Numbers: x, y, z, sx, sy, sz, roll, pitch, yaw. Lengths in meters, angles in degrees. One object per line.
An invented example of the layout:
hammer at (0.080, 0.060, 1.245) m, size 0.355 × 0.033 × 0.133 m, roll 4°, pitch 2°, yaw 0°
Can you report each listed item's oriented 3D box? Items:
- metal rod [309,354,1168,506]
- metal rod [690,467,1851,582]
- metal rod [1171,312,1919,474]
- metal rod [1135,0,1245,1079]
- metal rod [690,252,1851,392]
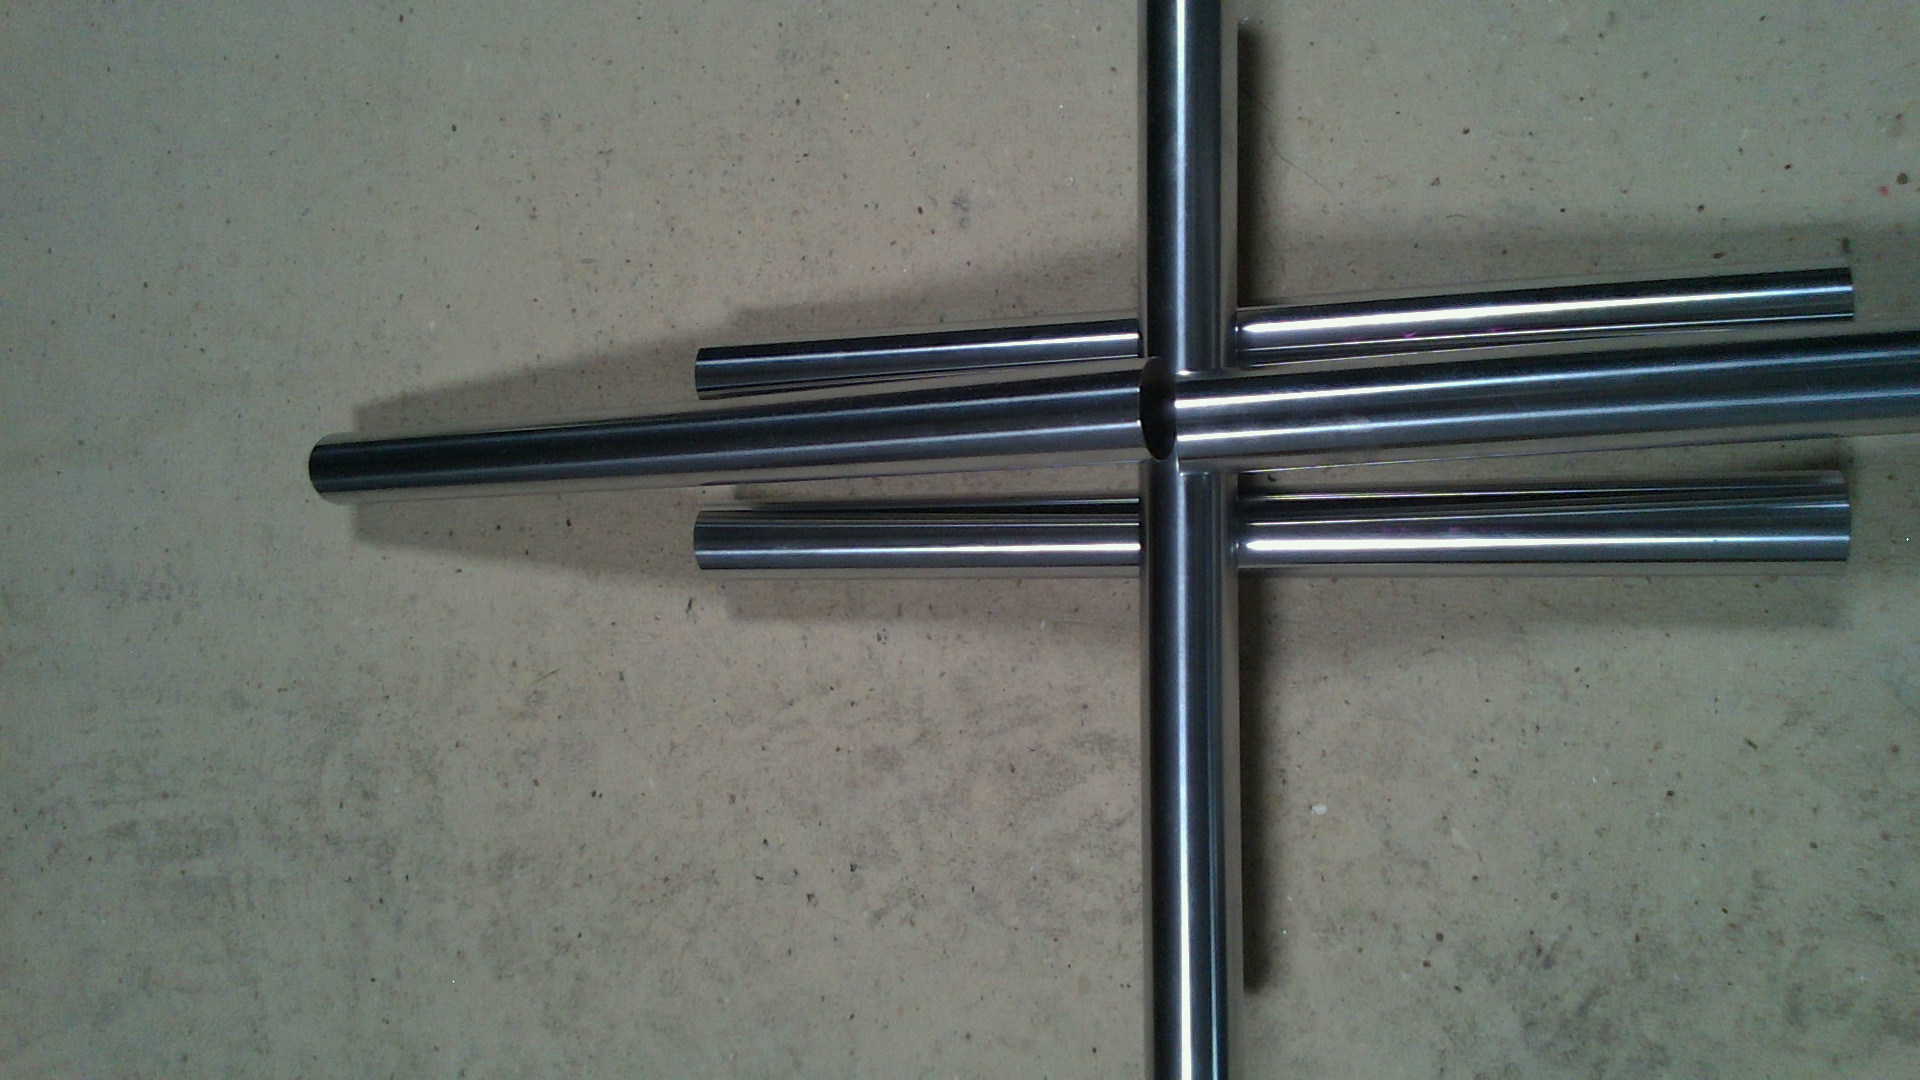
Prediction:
metal rod at (-0.082, -0.028, 0.399) m, size 0.299 × 0.025 × 0.025 m, roll -2°, pitch 90°, yaw 29°
metal rod at (0.064, -0.002, 0.372) m, size 0.299 × 0.025 × 0.025 m, roll -1°, pitch 90°, yaw 20°
metal rod at (0.198, -0.036, 0.298) m, size 0.300 × 0.025 × 0.025 m, roll -3°, pitch 89°, yaw 10°
metal rod at (0.058, -0.011, 0.348) m, size 0.025 × 0.025 × 0.300 m, roll -1°, pitch 90°, yaw 20°
metal rod at (0.064, -0.052, 0.372) m, size 0.299 × 0.025 × 0.025 m, roll -1°, pitch 90°, yaw 20°
